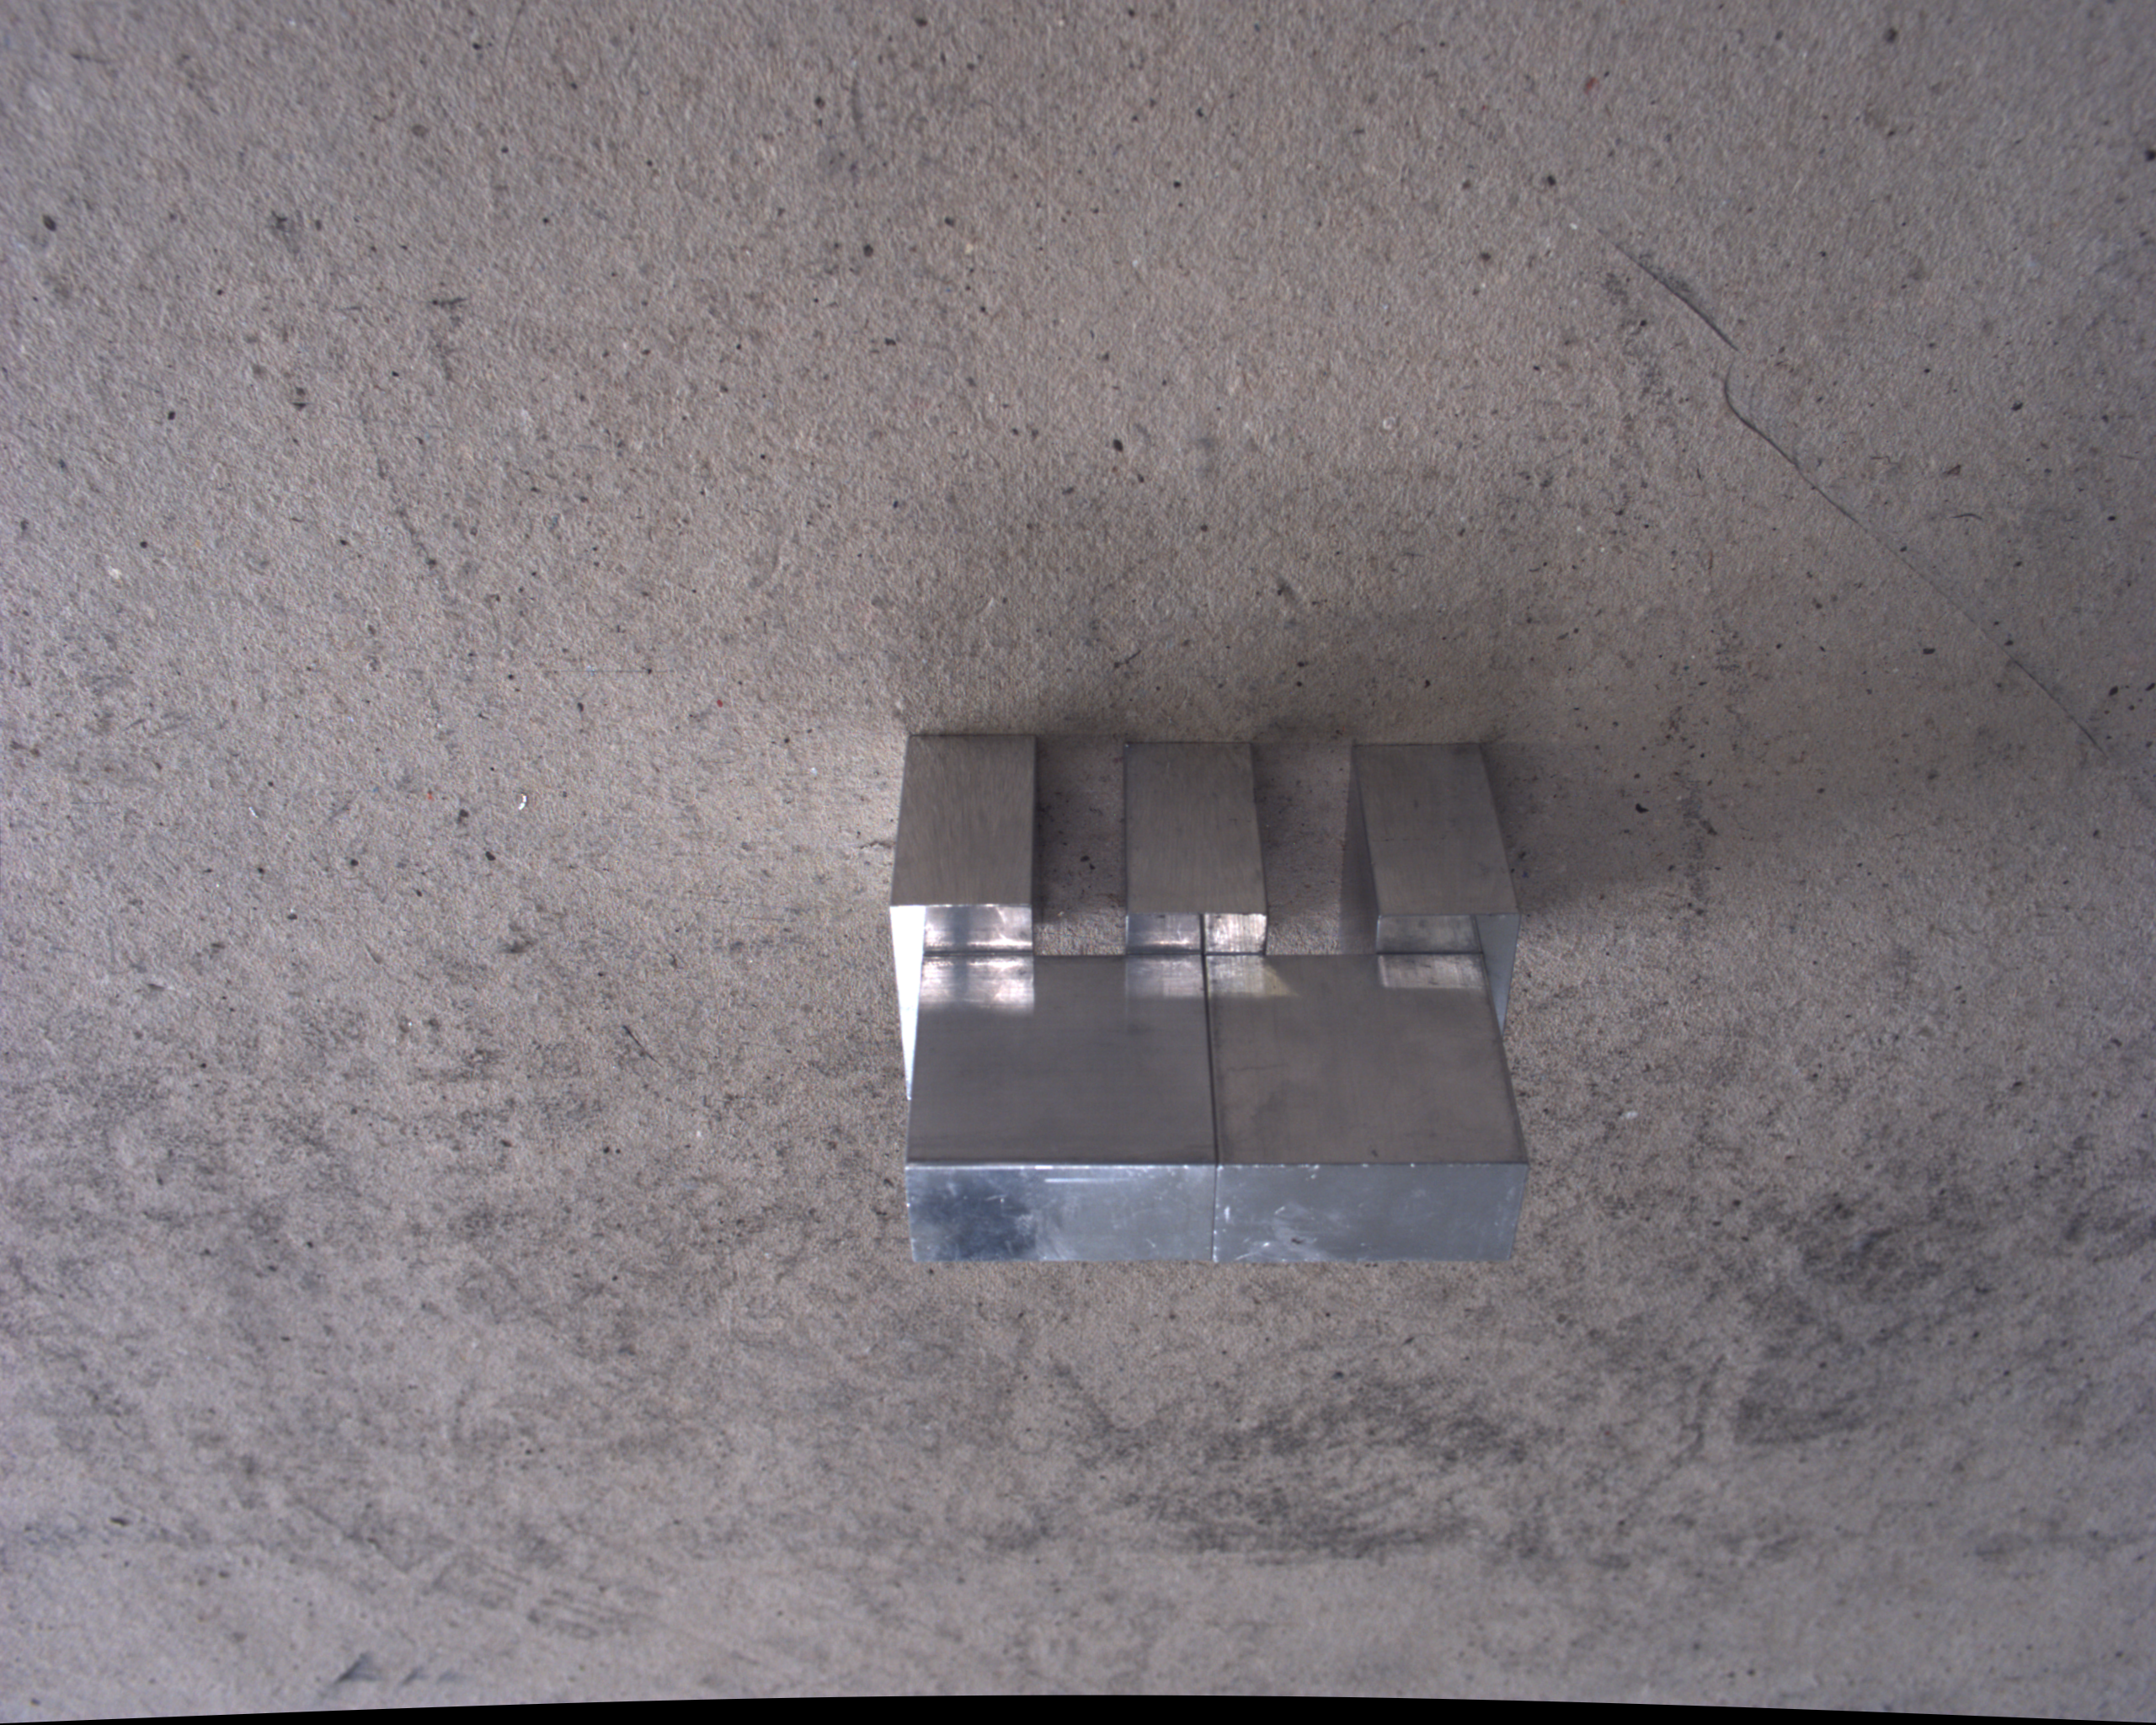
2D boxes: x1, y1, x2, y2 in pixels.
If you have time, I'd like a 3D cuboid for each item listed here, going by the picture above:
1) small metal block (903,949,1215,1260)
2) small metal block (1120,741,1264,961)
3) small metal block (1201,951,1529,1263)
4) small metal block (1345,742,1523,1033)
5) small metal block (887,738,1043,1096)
[{"bbox_3d":[-0.003,0.041,0.363,0.050,0.050,0.025,0,130,0],"label":"small metal block"},{"bbox_3d":[0.021,0.012,0.403,0.025,0.050,0.050,-1,130,1],"label":"small metal block"},{"bbox_3d":[0.047,0.042,0.363,0.050,0.050,0.025,0,130,0],"label":"small metal block"},{"bbox_3d":[0.067,0.012,0.403,0.025,0.050,0.050,-1,130,1],"label":"small metal block"},{"bbox_3d":[-0.020,0.011,0.401,0.025,0.050,0.050,0,130,1],"label":"small metal block"}]
